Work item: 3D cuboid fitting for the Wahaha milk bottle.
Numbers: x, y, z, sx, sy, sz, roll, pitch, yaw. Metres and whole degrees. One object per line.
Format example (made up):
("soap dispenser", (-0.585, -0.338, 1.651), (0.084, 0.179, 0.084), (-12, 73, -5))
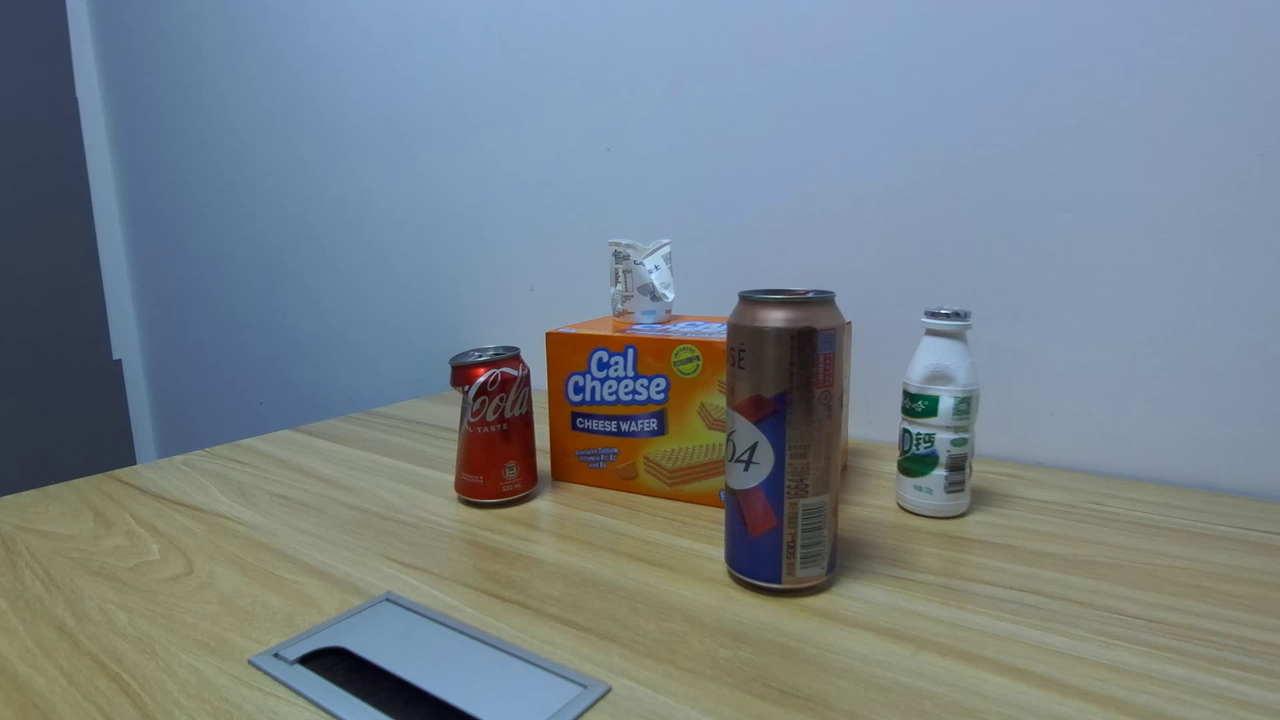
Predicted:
("Wahaha milk bottle", (0.215, 0.043, 0.509), (0.053, 0.136, 0.053), (0, 9, 0))

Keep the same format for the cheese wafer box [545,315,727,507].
("cheese wafer box", (0.053, 0.035, 0.596), (0.221, 0.129, 0.149), (4, 11, 25))

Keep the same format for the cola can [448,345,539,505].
("cola can", (-0.113, 0.051, 0.552), (0.065, 0.117, 0.072), (-2, 9, -9))

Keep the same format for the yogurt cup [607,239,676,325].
("yogurt cup", (0.002, -0.071, 0.634), (0.055, 0.072, 0.055), (-4, 11, -16))

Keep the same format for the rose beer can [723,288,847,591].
("rose beer can", (0.084, 0.047, 0.410), (0.068, 0.169, 0.068), (0, 9, 0))
